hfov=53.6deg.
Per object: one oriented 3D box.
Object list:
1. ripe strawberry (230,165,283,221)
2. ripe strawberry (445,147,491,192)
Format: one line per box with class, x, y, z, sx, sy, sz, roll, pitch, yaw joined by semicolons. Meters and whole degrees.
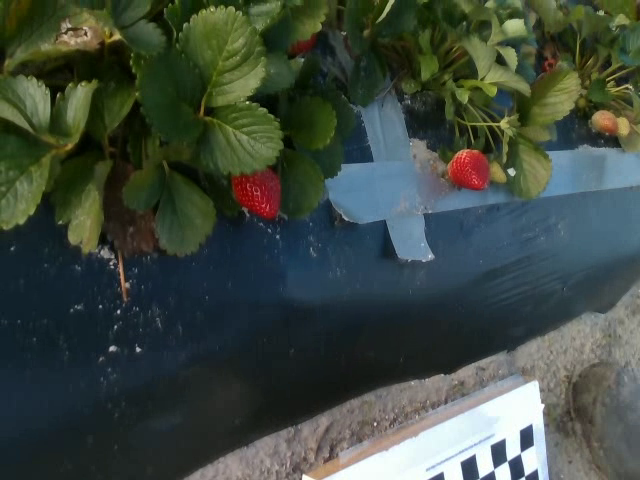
ripe strawberry;-0.020;-0.016;0.204;0.018;0.023;0.021;-18;-21;-20
ripe strawberry;0.070;-0.030;0.281;0.023;0.026;0.021;0;-44;-13
